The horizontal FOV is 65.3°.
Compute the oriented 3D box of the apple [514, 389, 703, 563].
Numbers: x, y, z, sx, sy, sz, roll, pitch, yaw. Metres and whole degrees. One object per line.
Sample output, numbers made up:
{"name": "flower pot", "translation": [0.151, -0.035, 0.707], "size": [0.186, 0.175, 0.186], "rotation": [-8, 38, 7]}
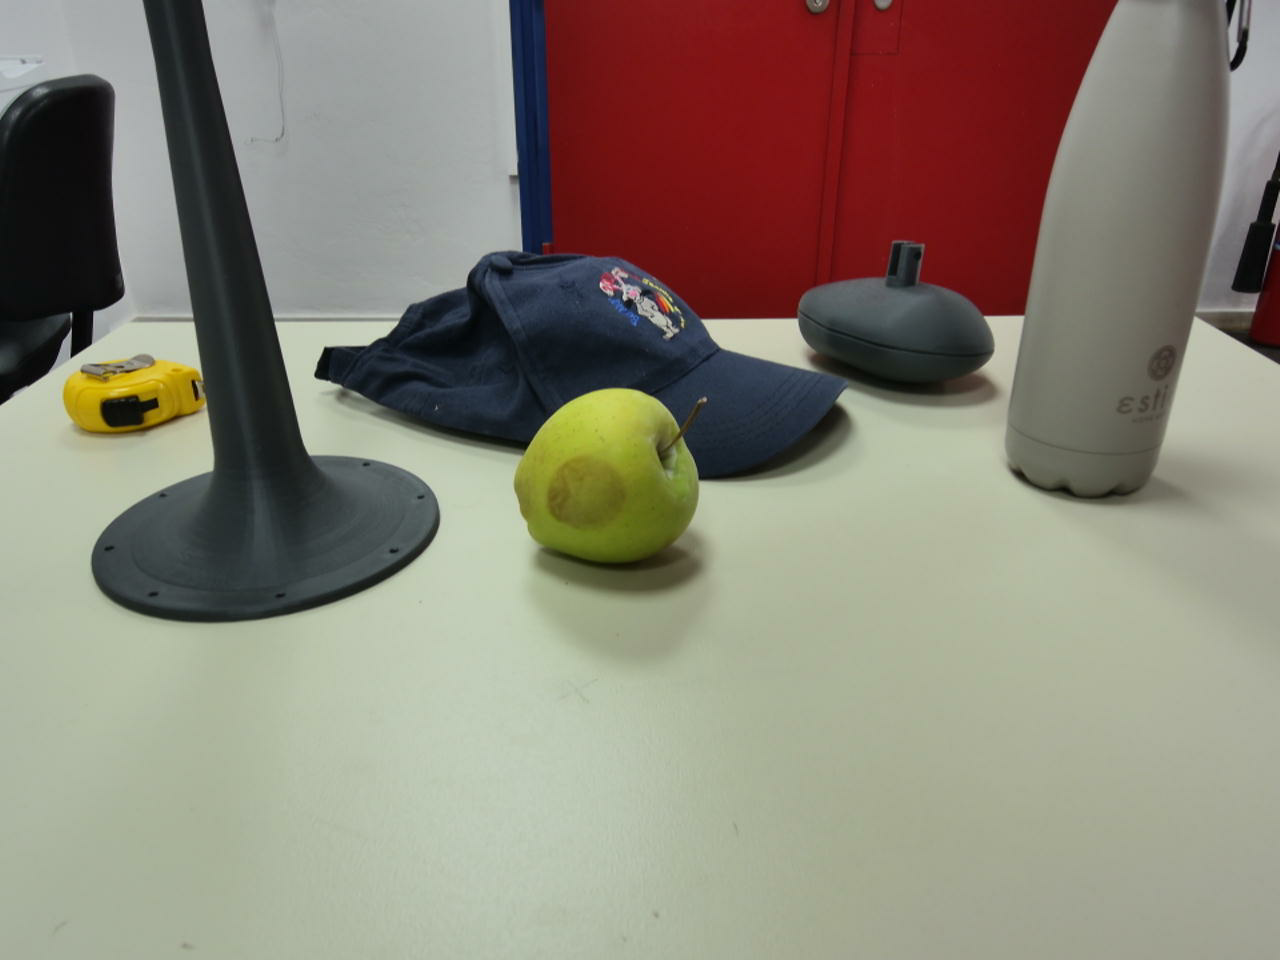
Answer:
{"name": "apple", "translation": [-0.013, -0.002, 0.434], "size": [0.077, 0.075, 0.072], "rotation": [22, 32, 39]}
